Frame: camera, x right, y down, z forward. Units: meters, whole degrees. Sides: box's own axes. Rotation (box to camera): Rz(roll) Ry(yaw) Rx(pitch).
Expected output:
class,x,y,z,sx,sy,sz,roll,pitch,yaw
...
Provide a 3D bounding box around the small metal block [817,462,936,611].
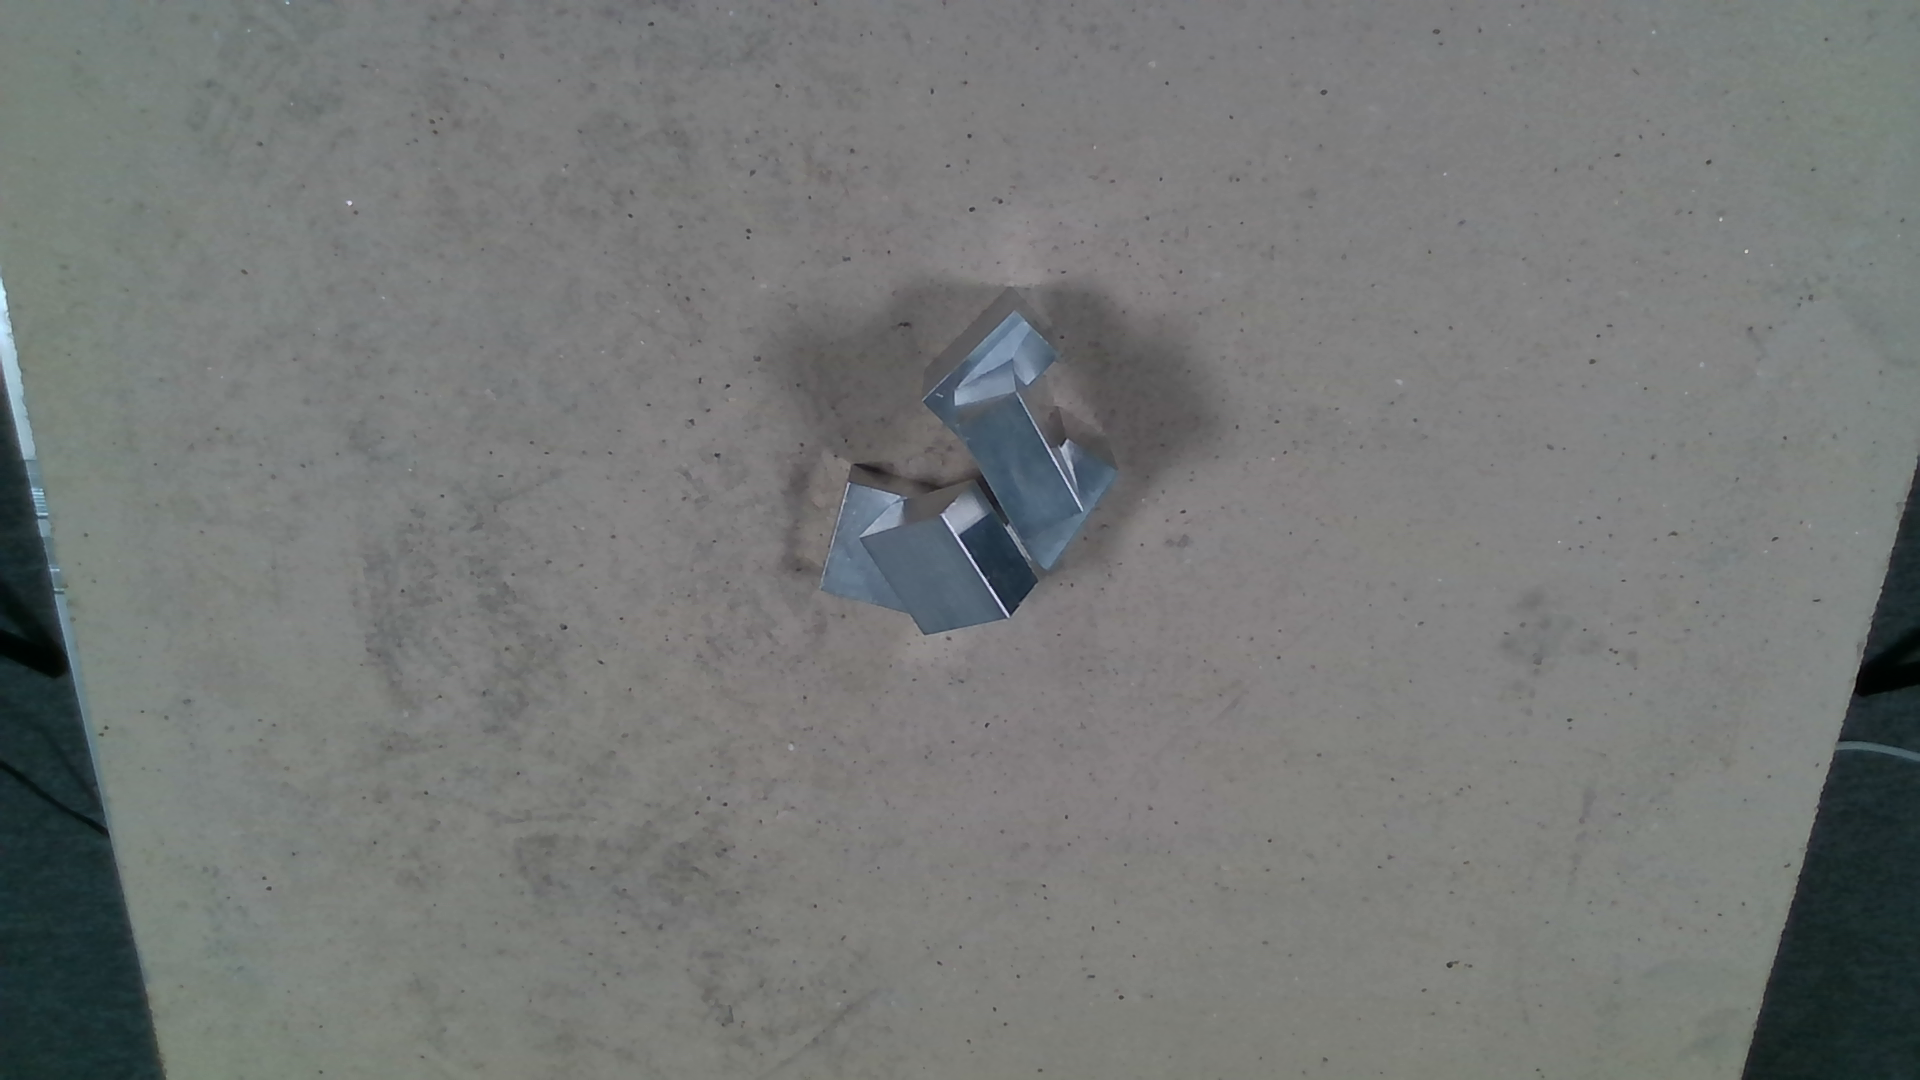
class,x,y,z,sx,sy,sz,roll,pitch,yaw
small metal block,-0.029,0.000,0.585,0.050,0.025,0.050,15,110,-5

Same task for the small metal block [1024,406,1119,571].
class,x,y,z,sx,sy,sz,roll,pitch,yaw
small metal block,0.038,-0.022,0.563,0.025,0.050,0.050,31,107,-10

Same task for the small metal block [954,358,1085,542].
class,x,y,z,sx,sy,sz,roll,pitch,yaw
small metal block,0.021,-0.034,0.506,0.025,0.050,0.050,-28,108,10

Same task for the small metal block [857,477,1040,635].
class,x,y,z,sx,sy,sz,roll,pitch,yaw
small metal block,-0.005,0.007,0.548,0.050,0.025,0.050,-15,115,45

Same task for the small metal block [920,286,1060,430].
class,x,y,z,sx,sy,sz,roll,pitch,yaw
small metal block,0.011,-0.071,0.546,0.050,0.050,0.025,-43,104,14
